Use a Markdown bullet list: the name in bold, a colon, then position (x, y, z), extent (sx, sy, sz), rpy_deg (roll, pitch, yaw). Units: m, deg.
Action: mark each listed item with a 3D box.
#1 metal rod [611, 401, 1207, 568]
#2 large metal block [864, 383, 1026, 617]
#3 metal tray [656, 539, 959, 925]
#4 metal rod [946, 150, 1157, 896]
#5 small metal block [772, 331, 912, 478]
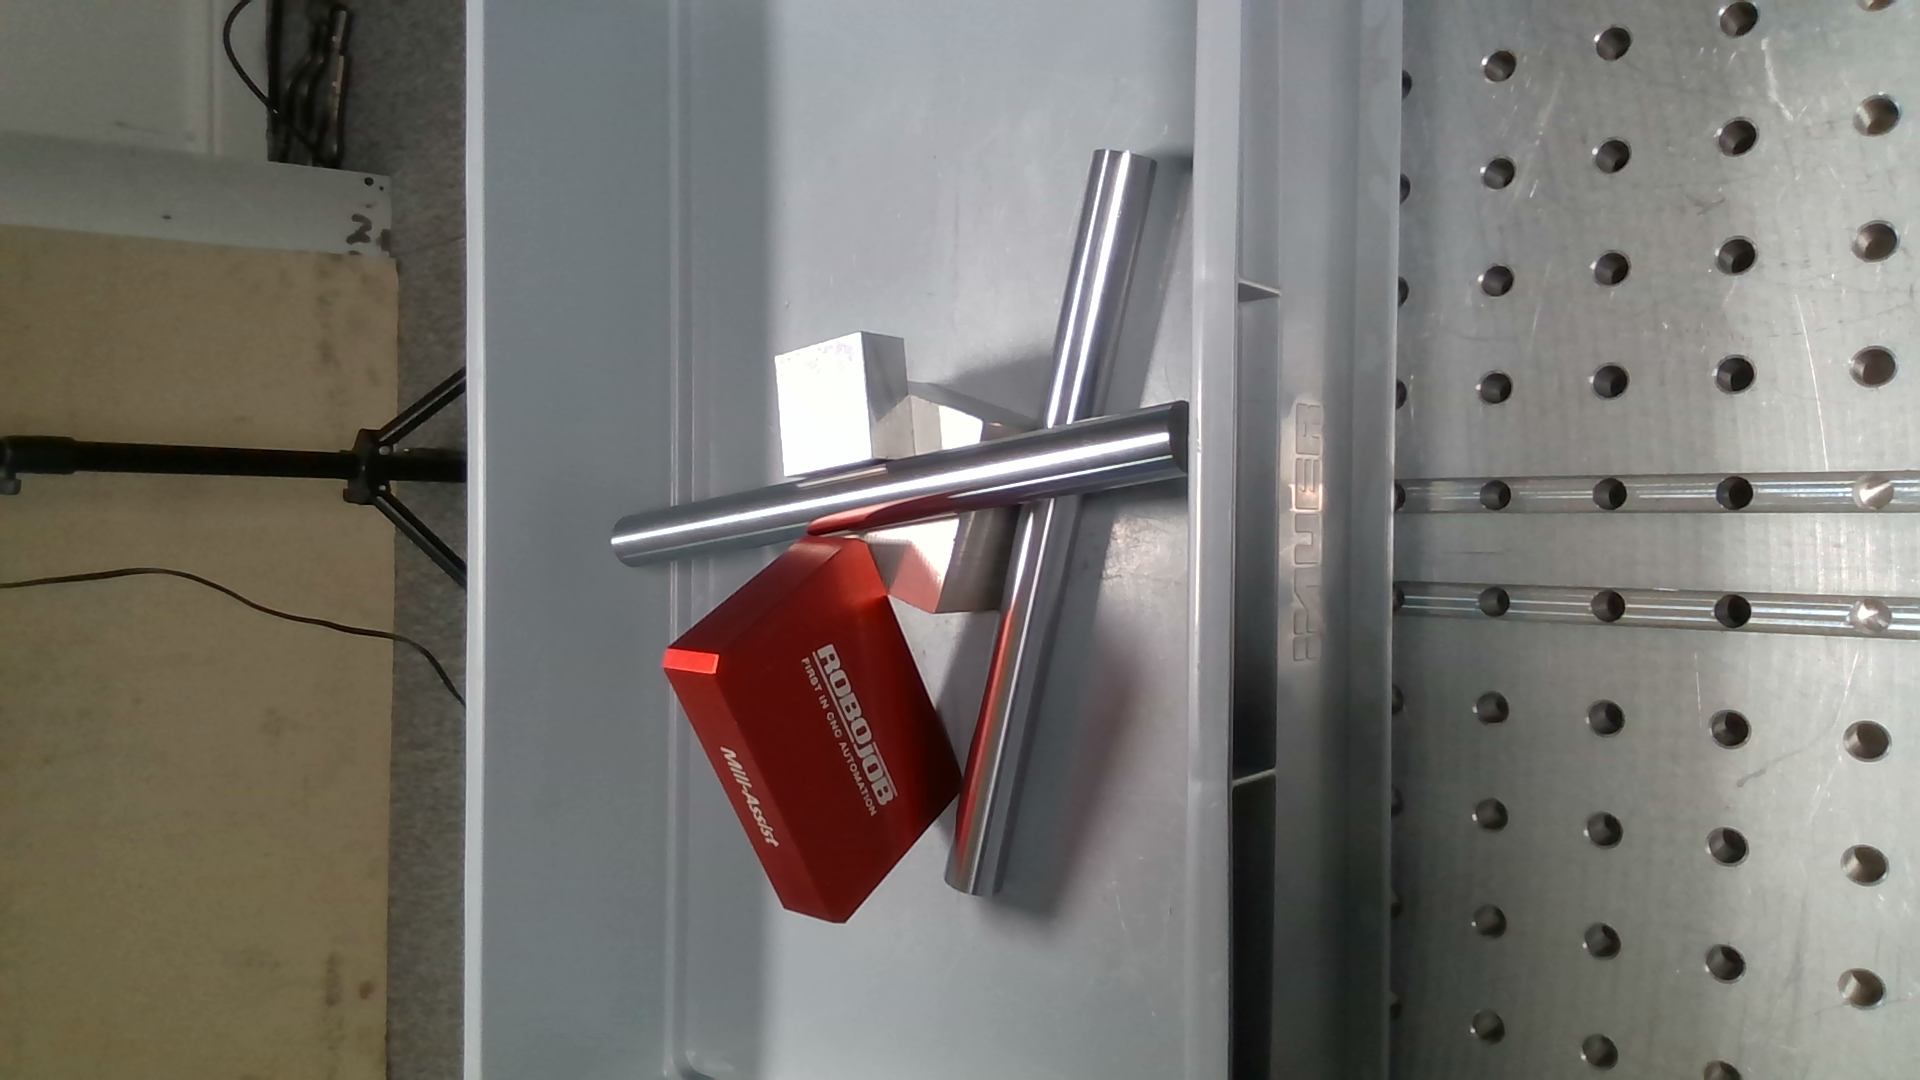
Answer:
- **metal rod**: position (-0.039, -0.016, 0.548), extent (0.300, 0.025, 0.025), rpy_deg (-9, 85, 40)
- **large metal block**: position (-0.014, -0.020, 0.576), extent (0.080, 0.050, 0.080), rpy_deg (23, 105, 38)
- **metal tray**: position (-0.056, 0.076, 0.552), extent (0.030, 0.090, 0.130), rpy_deg (2, 123, 41)
- **metal rod**: position (0.034, -0.001, 0.552), extent (0.025, 0.025, 0.300), rpy_deg (19, 103, 39)
- **small metal block**: position (-0.048, -0.053, 0.555), extent (0.050, 0.025, 0.050), rpy_deg (-8, 85, 39)
